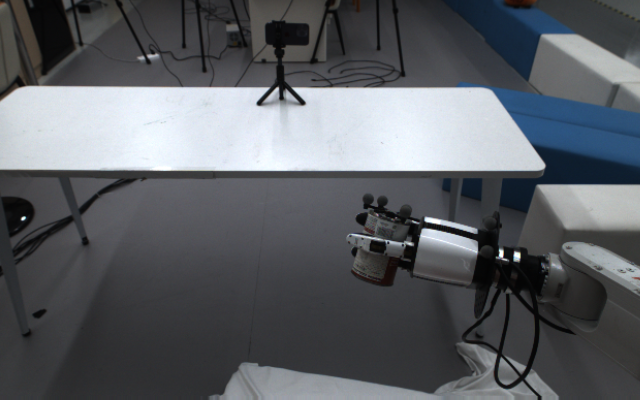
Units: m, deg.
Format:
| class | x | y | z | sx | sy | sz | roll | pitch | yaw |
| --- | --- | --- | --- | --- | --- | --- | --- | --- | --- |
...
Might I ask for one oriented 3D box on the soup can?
| class | x | y | z | sx | sy | sz | roll | pitch | yaw |
| --- | --- | --- | --- | --- | --- | --- | --- | --- | --- |
| soup can | 0.094 | 0.073 | 0.740 | 0.067 | 0.101 | 0.067 | 15 | 7 | -2 |
